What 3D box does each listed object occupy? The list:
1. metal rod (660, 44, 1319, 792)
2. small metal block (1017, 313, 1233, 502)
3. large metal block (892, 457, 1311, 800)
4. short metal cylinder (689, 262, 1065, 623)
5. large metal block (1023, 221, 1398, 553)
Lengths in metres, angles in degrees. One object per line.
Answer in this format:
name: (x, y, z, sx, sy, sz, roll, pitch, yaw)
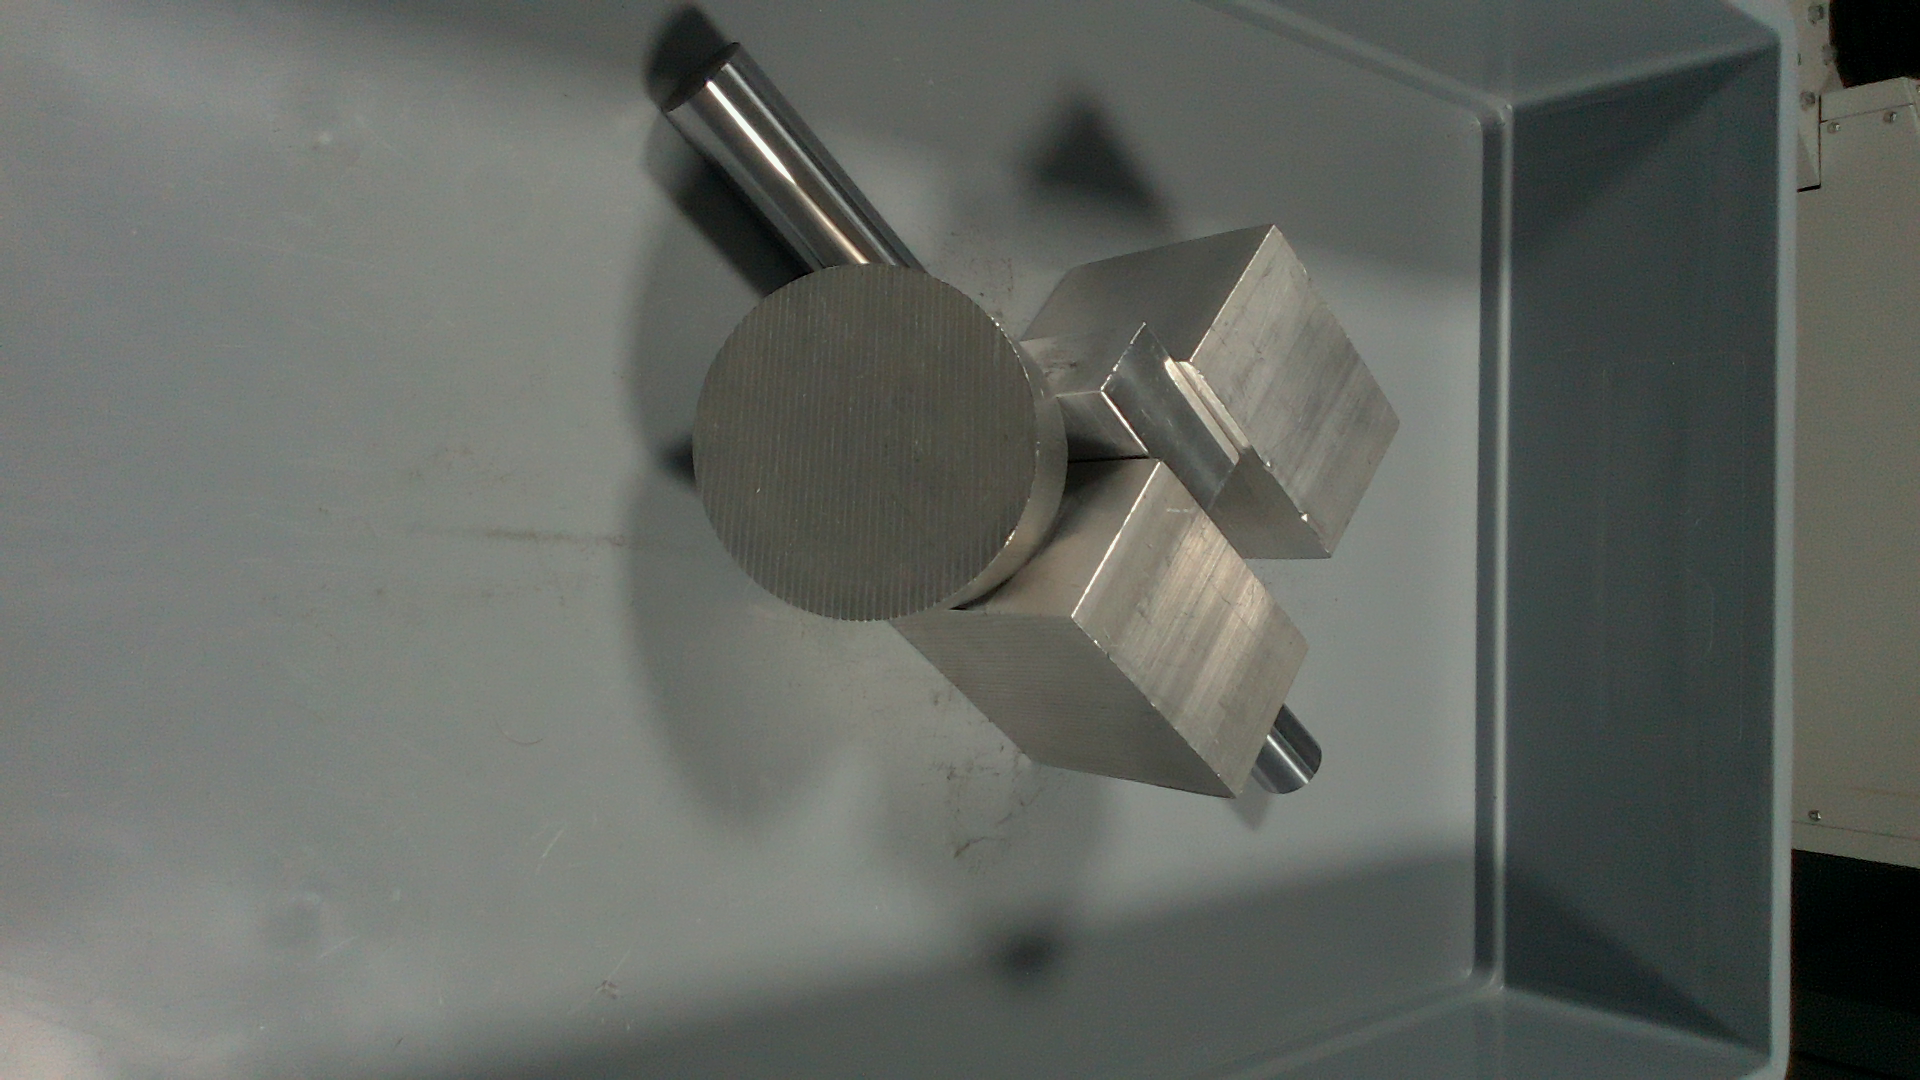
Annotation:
metal rod: (0.025, -0.017, 0.410, 0.301, 0.025, 0.025, 47, 62, -30)
small metal block: (0.037, -0.031, 0.372, 0.050, 0.050, 0.025, 48, 62, -29)
large metal block: (0.036, 0.024, 0.383, 0.080, 0.080, 0.050, 47, 62, -30)
short metal cylinder: (-0.018, -0.021, 0.330, 0.050, 0.080, 0.080, 3, 88, -79)
large metal block: (0.069, -0.041, 0.411, 0.080, 0.080, 0.050, 48, 62, -29)
